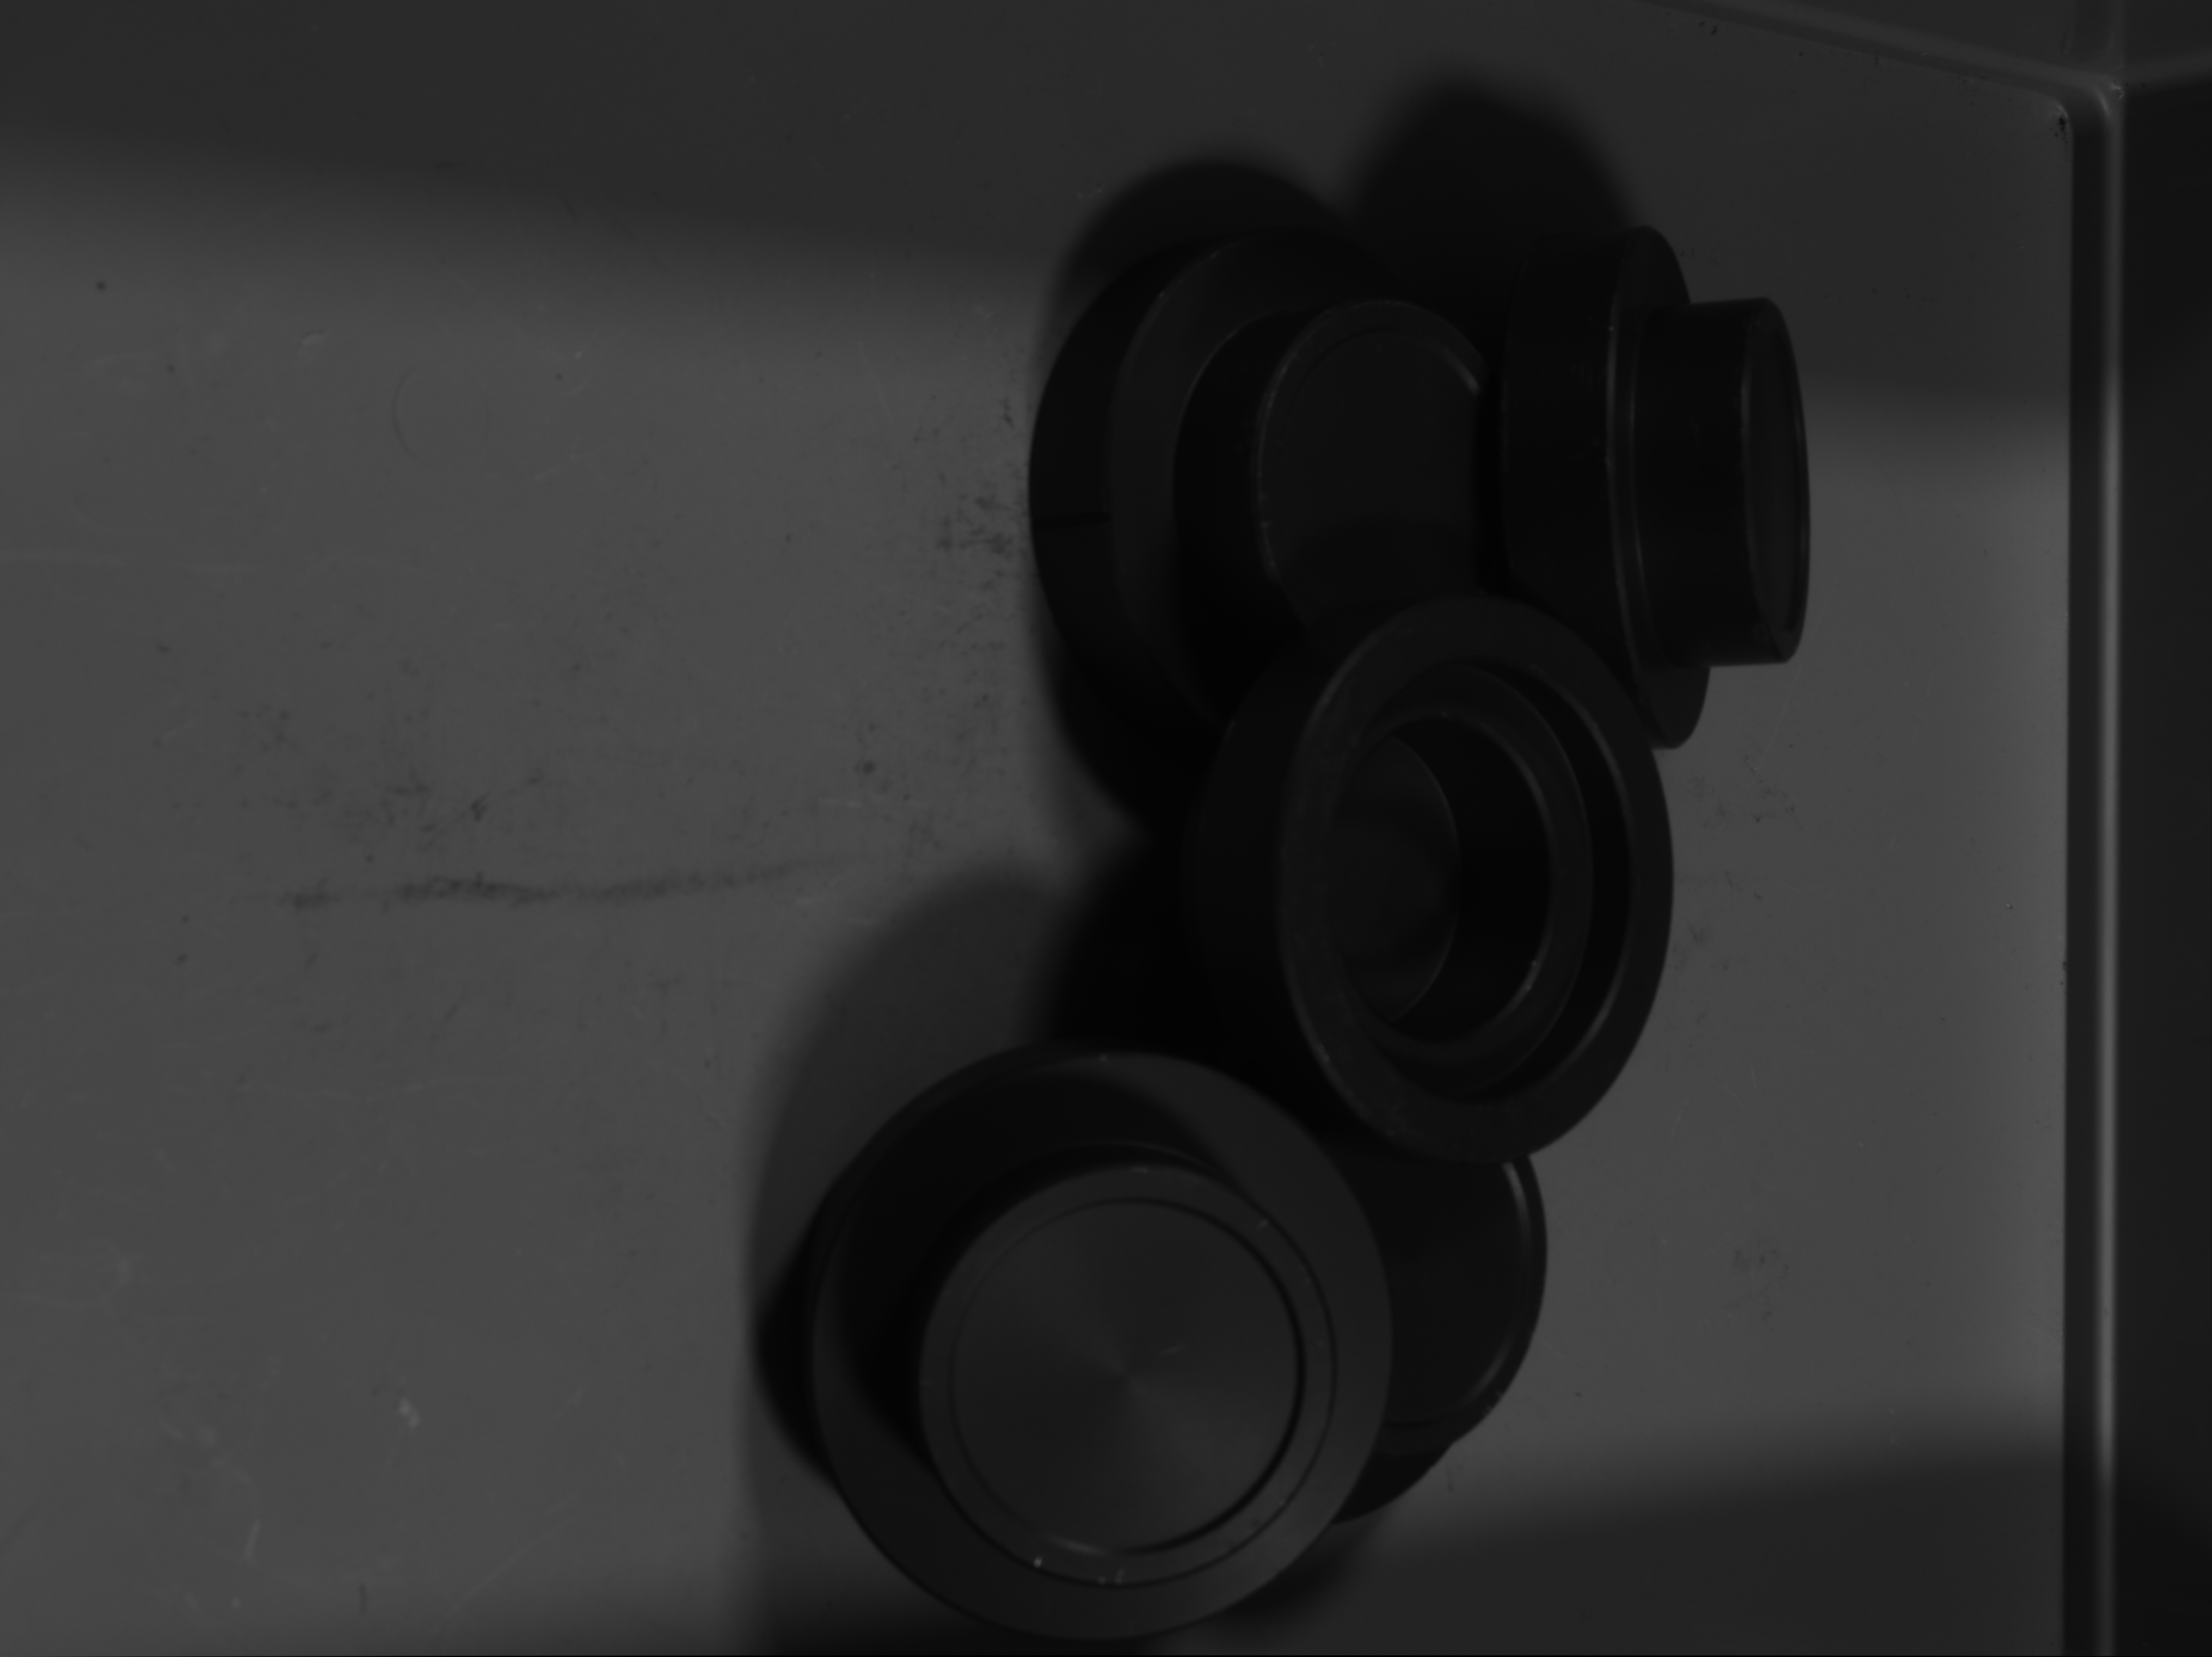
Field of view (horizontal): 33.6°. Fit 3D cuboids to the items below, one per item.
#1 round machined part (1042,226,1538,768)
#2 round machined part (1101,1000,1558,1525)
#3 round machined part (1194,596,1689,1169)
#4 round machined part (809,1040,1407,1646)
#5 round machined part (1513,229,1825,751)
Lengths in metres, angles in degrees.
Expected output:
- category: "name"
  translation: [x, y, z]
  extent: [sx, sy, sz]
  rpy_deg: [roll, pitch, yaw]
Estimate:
- category: "round machined part"
  translation: [0.039, -0.059, 0.657]
  extent: [0.098, 0.042, 0.098]
  rpy_deg: [0, 90, -40]
- category: "round machined part"
  translation: [0.043, 0.077, 0.661]
  extent: [0.098, 0.042, 0.098]
  rpy_deg: [0, 90, -40]
- category: "round machined part"
  translation: [0.054, 0.009, 0.641]
  extent: [0.098, 0.042, 0.098]
  rpy_deg: [0, 90, -40]
- category: "round machined part"
  translation: [0.002, 0.086, 0.599]
  extent: [0.098, 0.042, 0.098]
  rpy_deg: [-1, 93, -10]
- category: "round machined part"
  translation: [0.109, -0.063, 0.687]
  extent: [0.098, 0.042, 0.098]
  rpy_deg: [-3, 90, -70]
